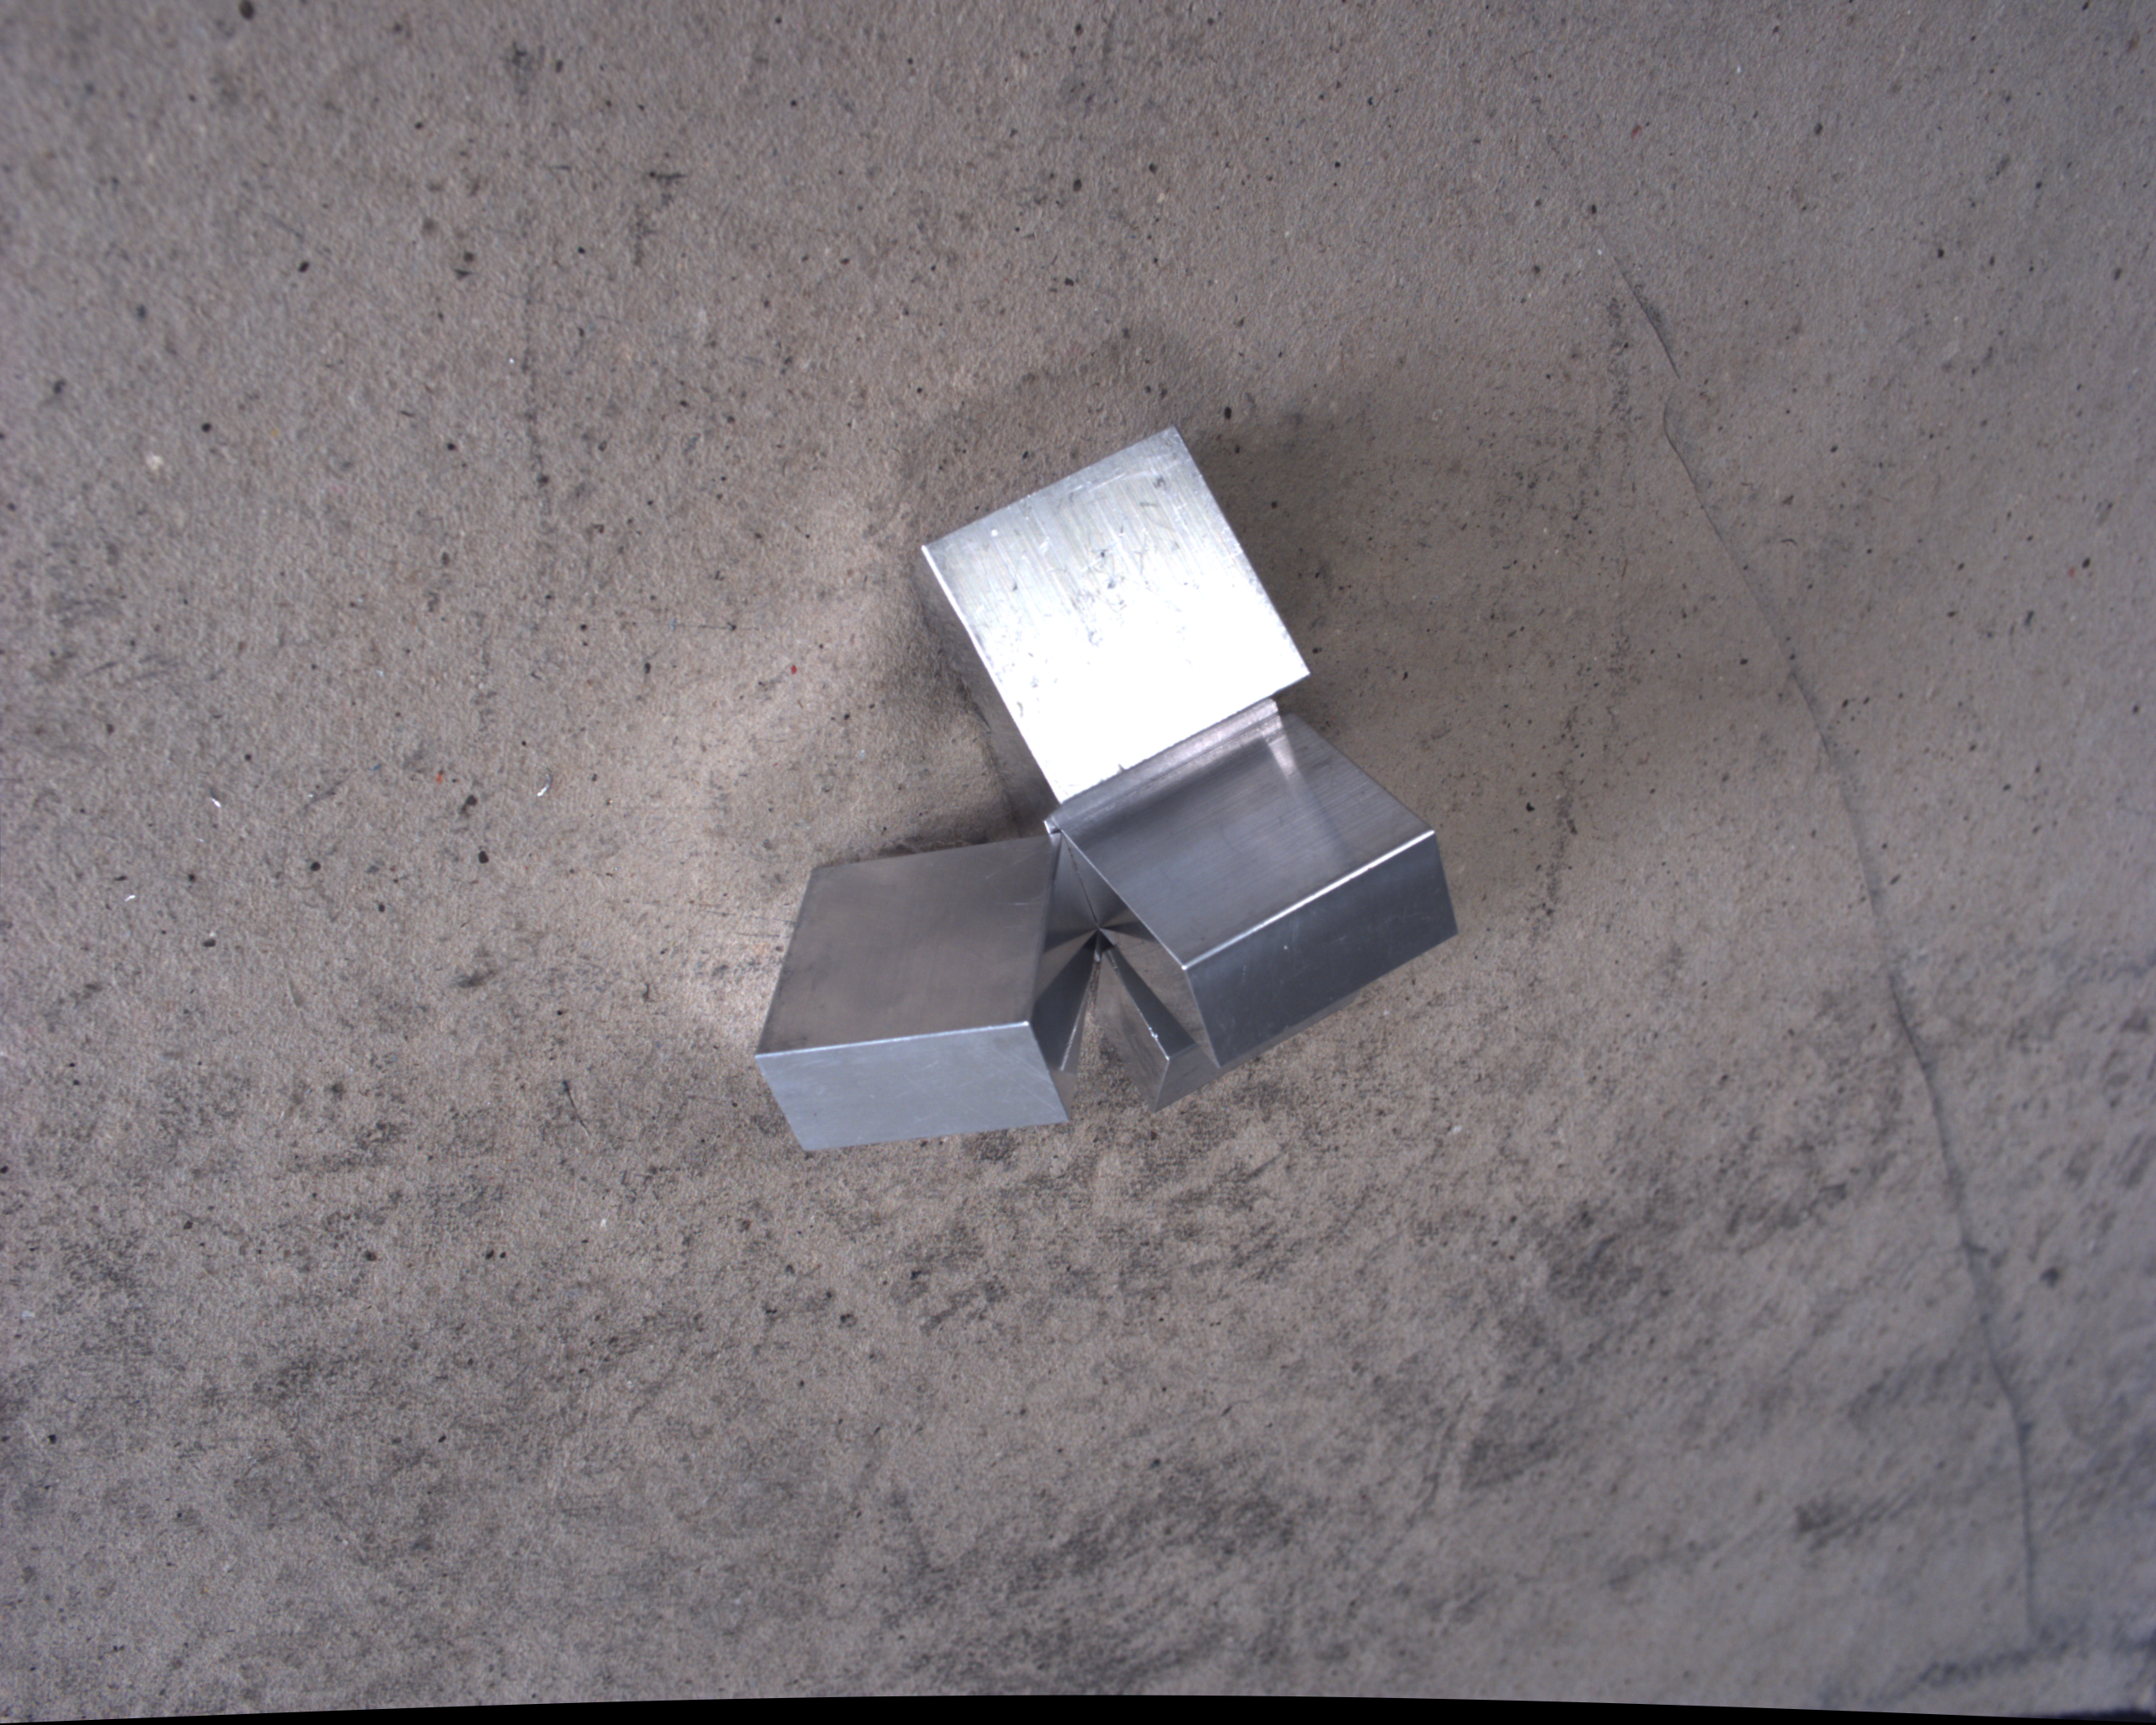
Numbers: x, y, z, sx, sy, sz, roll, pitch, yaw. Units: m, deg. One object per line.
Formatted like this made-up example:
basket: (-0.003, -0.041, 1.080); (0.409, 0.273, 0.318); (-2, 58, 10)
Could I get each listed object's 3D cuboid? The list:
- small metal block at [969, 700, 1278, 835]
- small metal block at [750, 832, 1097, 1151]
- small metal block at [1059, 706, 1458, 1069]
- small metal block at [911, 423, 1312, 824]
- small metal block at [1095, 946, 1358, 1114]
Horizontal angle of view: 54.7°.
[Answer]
small metal block: (0.013, -0.017, 0.405); (0.050, 0.025, 0.050); (-27, 128, -9)
small metal block: (-0.026, 0.023, 0.380); (0.050, 0.050, 0.025); (-8, 129, 14)
small metal block: (0.032, 0.003, 0.379); (0.050, 0.050, 0.025); (-28, 129, -10)
small metal block: (0.005, -0.042, 0.369); (0.050, 0.025, 0.050); (-28, 88, -10)
small metal block: (0.032, 0.024, 0.424); (0.050, 0.025, 0.050); (-28, 165, -10)
